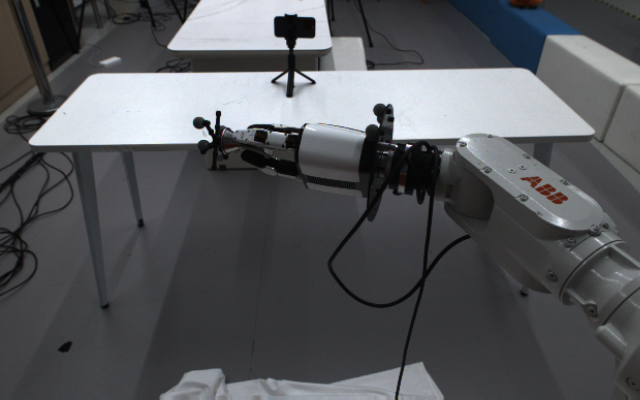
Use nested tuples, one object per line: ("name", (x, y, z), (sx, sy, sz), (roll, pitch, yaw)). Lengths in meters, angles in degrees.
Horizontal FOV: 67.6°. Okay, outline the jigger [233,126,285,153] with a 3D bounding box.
("jigger", (-0.102, -0.090, 0.709), (0.071, 0.043, 0.043), (4, 34, 15))
